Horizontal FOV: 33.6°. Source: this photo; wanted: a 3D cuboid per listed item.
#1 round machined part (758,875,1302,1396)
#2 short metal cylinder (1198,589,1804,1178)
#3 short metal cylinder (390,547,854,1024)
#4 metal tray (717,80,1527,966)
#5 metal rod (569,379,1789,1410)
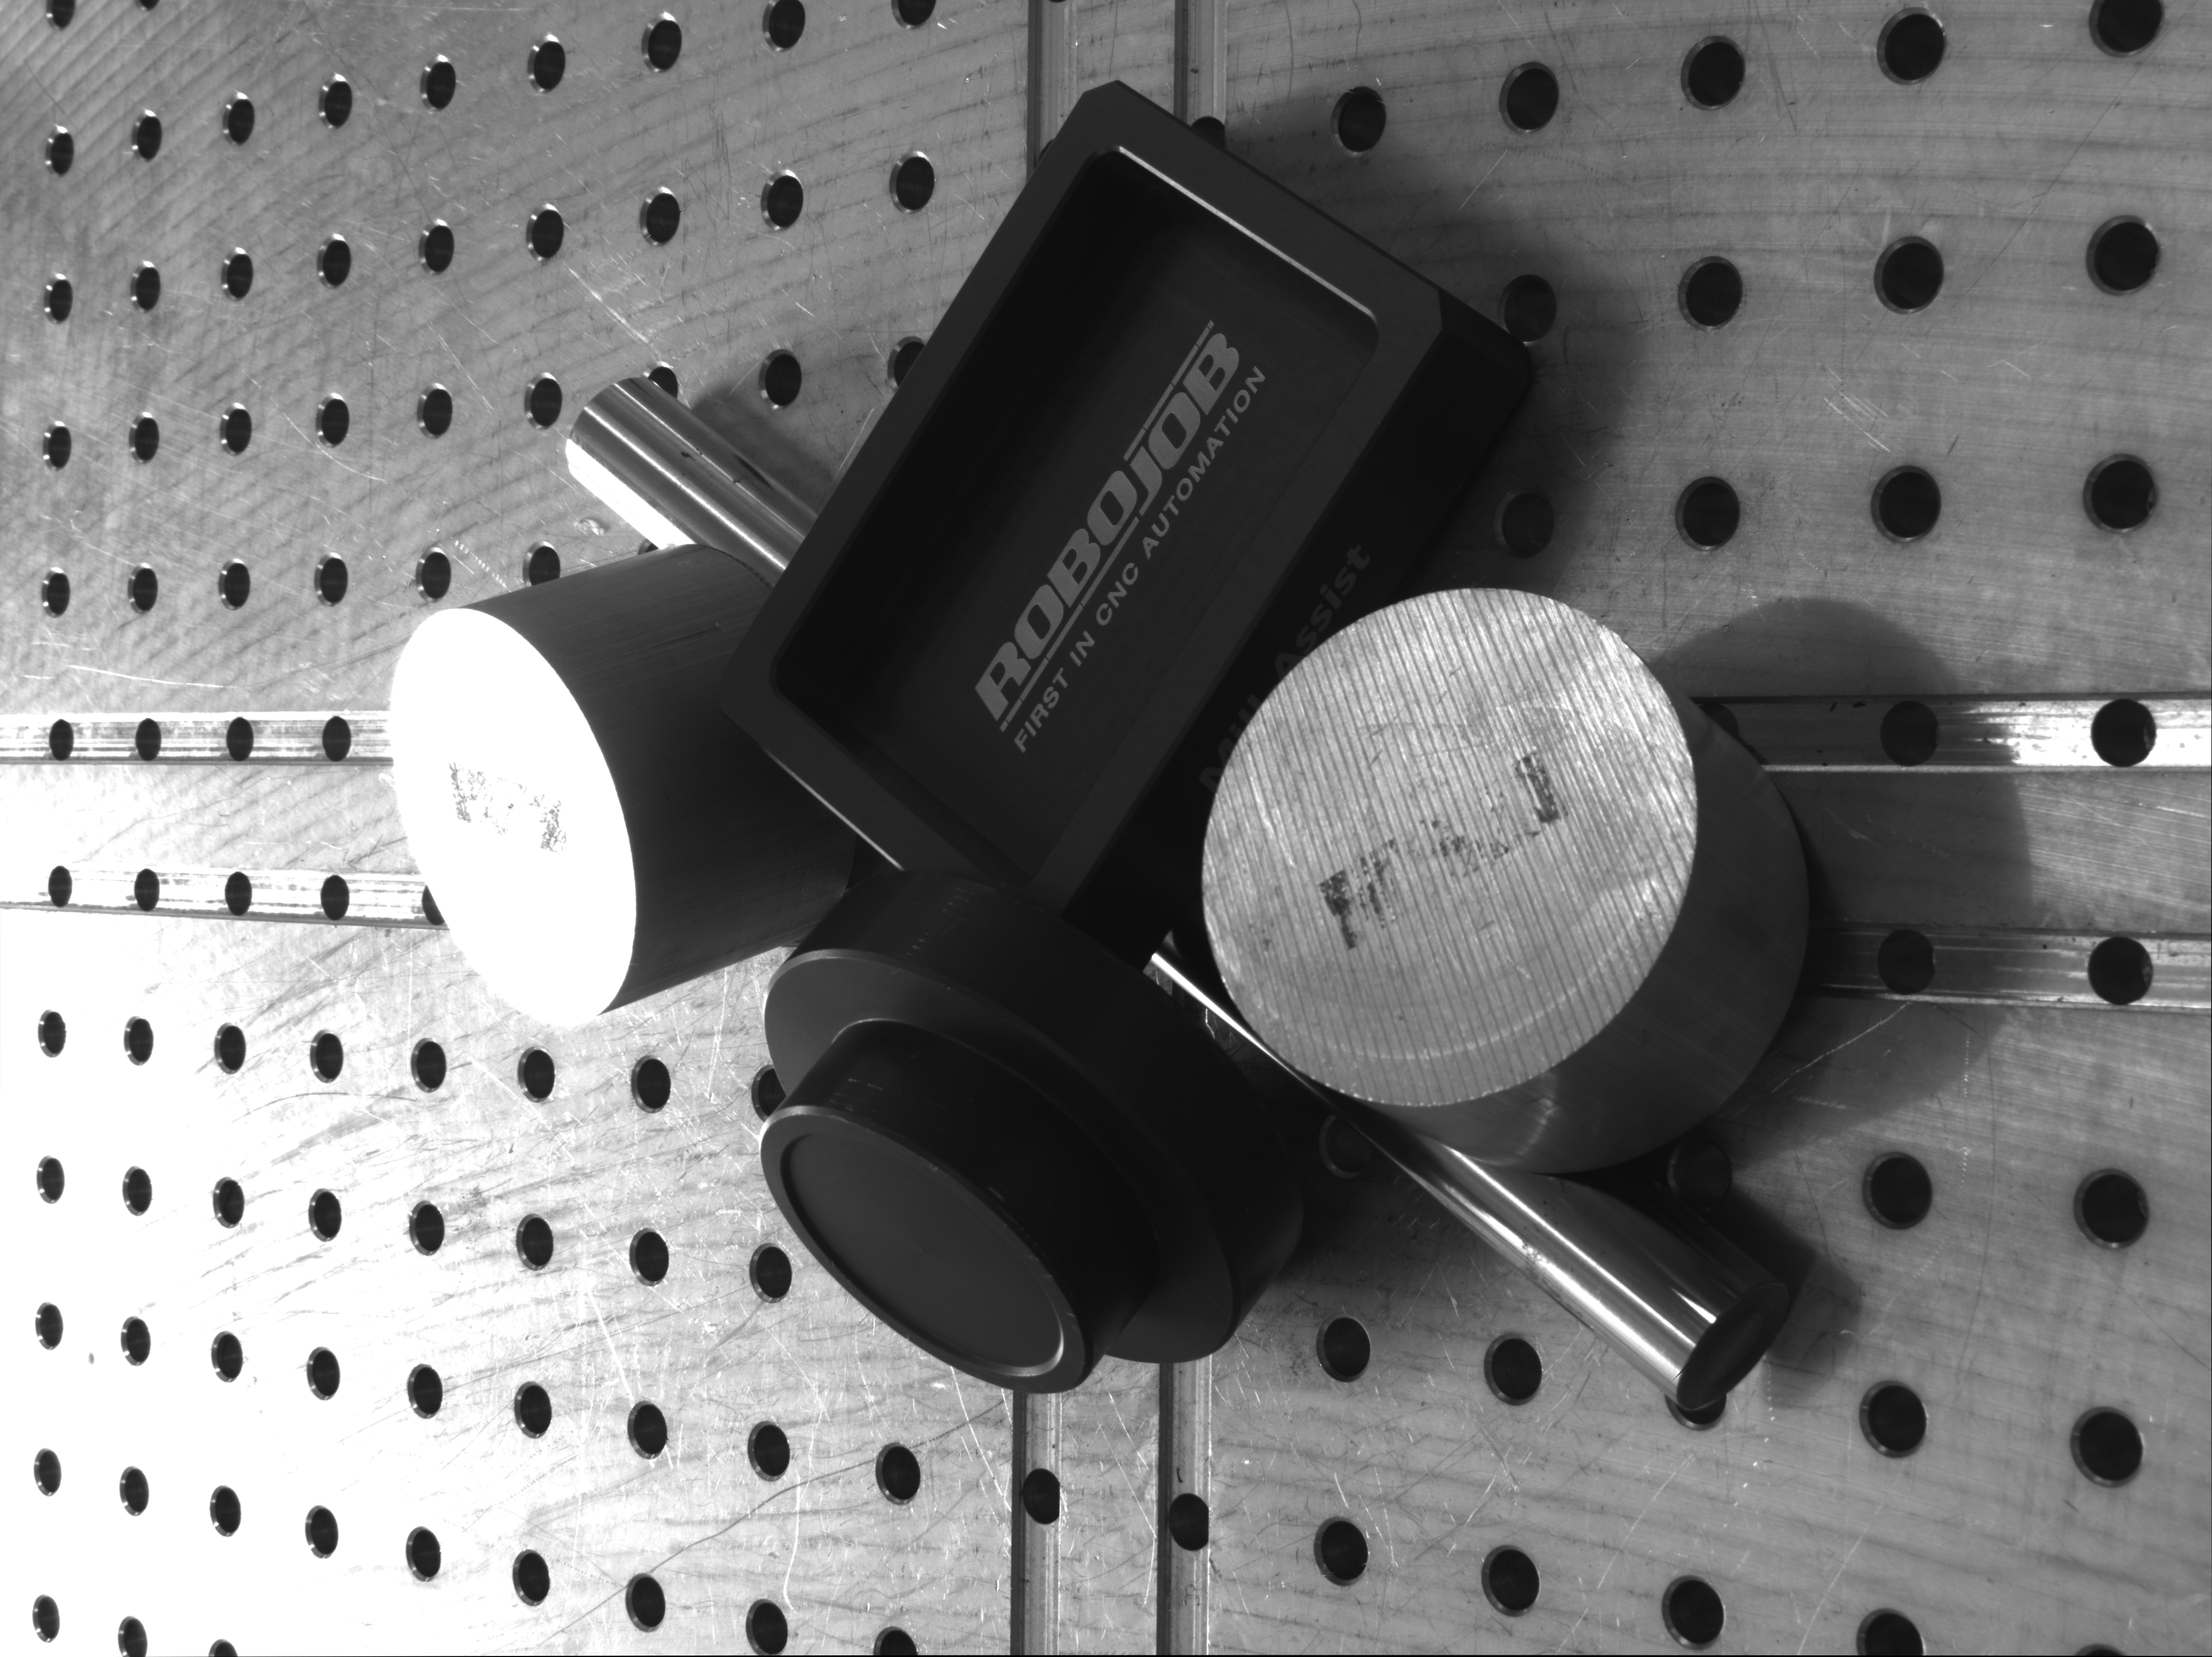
[{"bbox_3d":[-0.019,0.057,0.618,0.098,0.042,0.098,28,148,19],"label":"round machined part"},{"bbox_3d":[0.061,0.009,0.565,0.080,0.050,0.080,-10,69,26],"label":"short metal cylinder"},{"bbox_3d":[-0.092,-0.009,0.694,0.080,0.050,0.080,25,124,42],"label":"short metal cylinder"},{"bbox_3d":[0.000,-0.050,0.626,0.090,0.030,0.130,39,101,33],"label":"metal tray"},{"bbox_3d":[0.000,0.001,0.648,0.299,0.025,0.025,39,114,33],"label":"metal rod"}]
